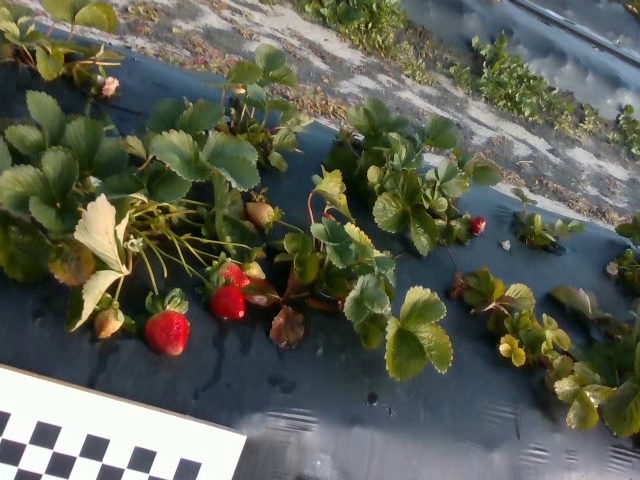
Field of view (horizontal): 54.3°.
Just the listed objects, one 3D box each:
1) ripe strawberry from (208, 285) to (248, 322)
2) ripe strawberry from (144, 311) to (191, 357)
[{"bbox_3d":[-0.110,0.081,0.733,0.055,0.044,0.042,34,-17,41],"label":"ripe strawberry"},{"bbox_3d":[-0.167,0.106,0.674,0.050,0.050,0.065,-21,38,-14],"label":"ripe strawberry"}]
